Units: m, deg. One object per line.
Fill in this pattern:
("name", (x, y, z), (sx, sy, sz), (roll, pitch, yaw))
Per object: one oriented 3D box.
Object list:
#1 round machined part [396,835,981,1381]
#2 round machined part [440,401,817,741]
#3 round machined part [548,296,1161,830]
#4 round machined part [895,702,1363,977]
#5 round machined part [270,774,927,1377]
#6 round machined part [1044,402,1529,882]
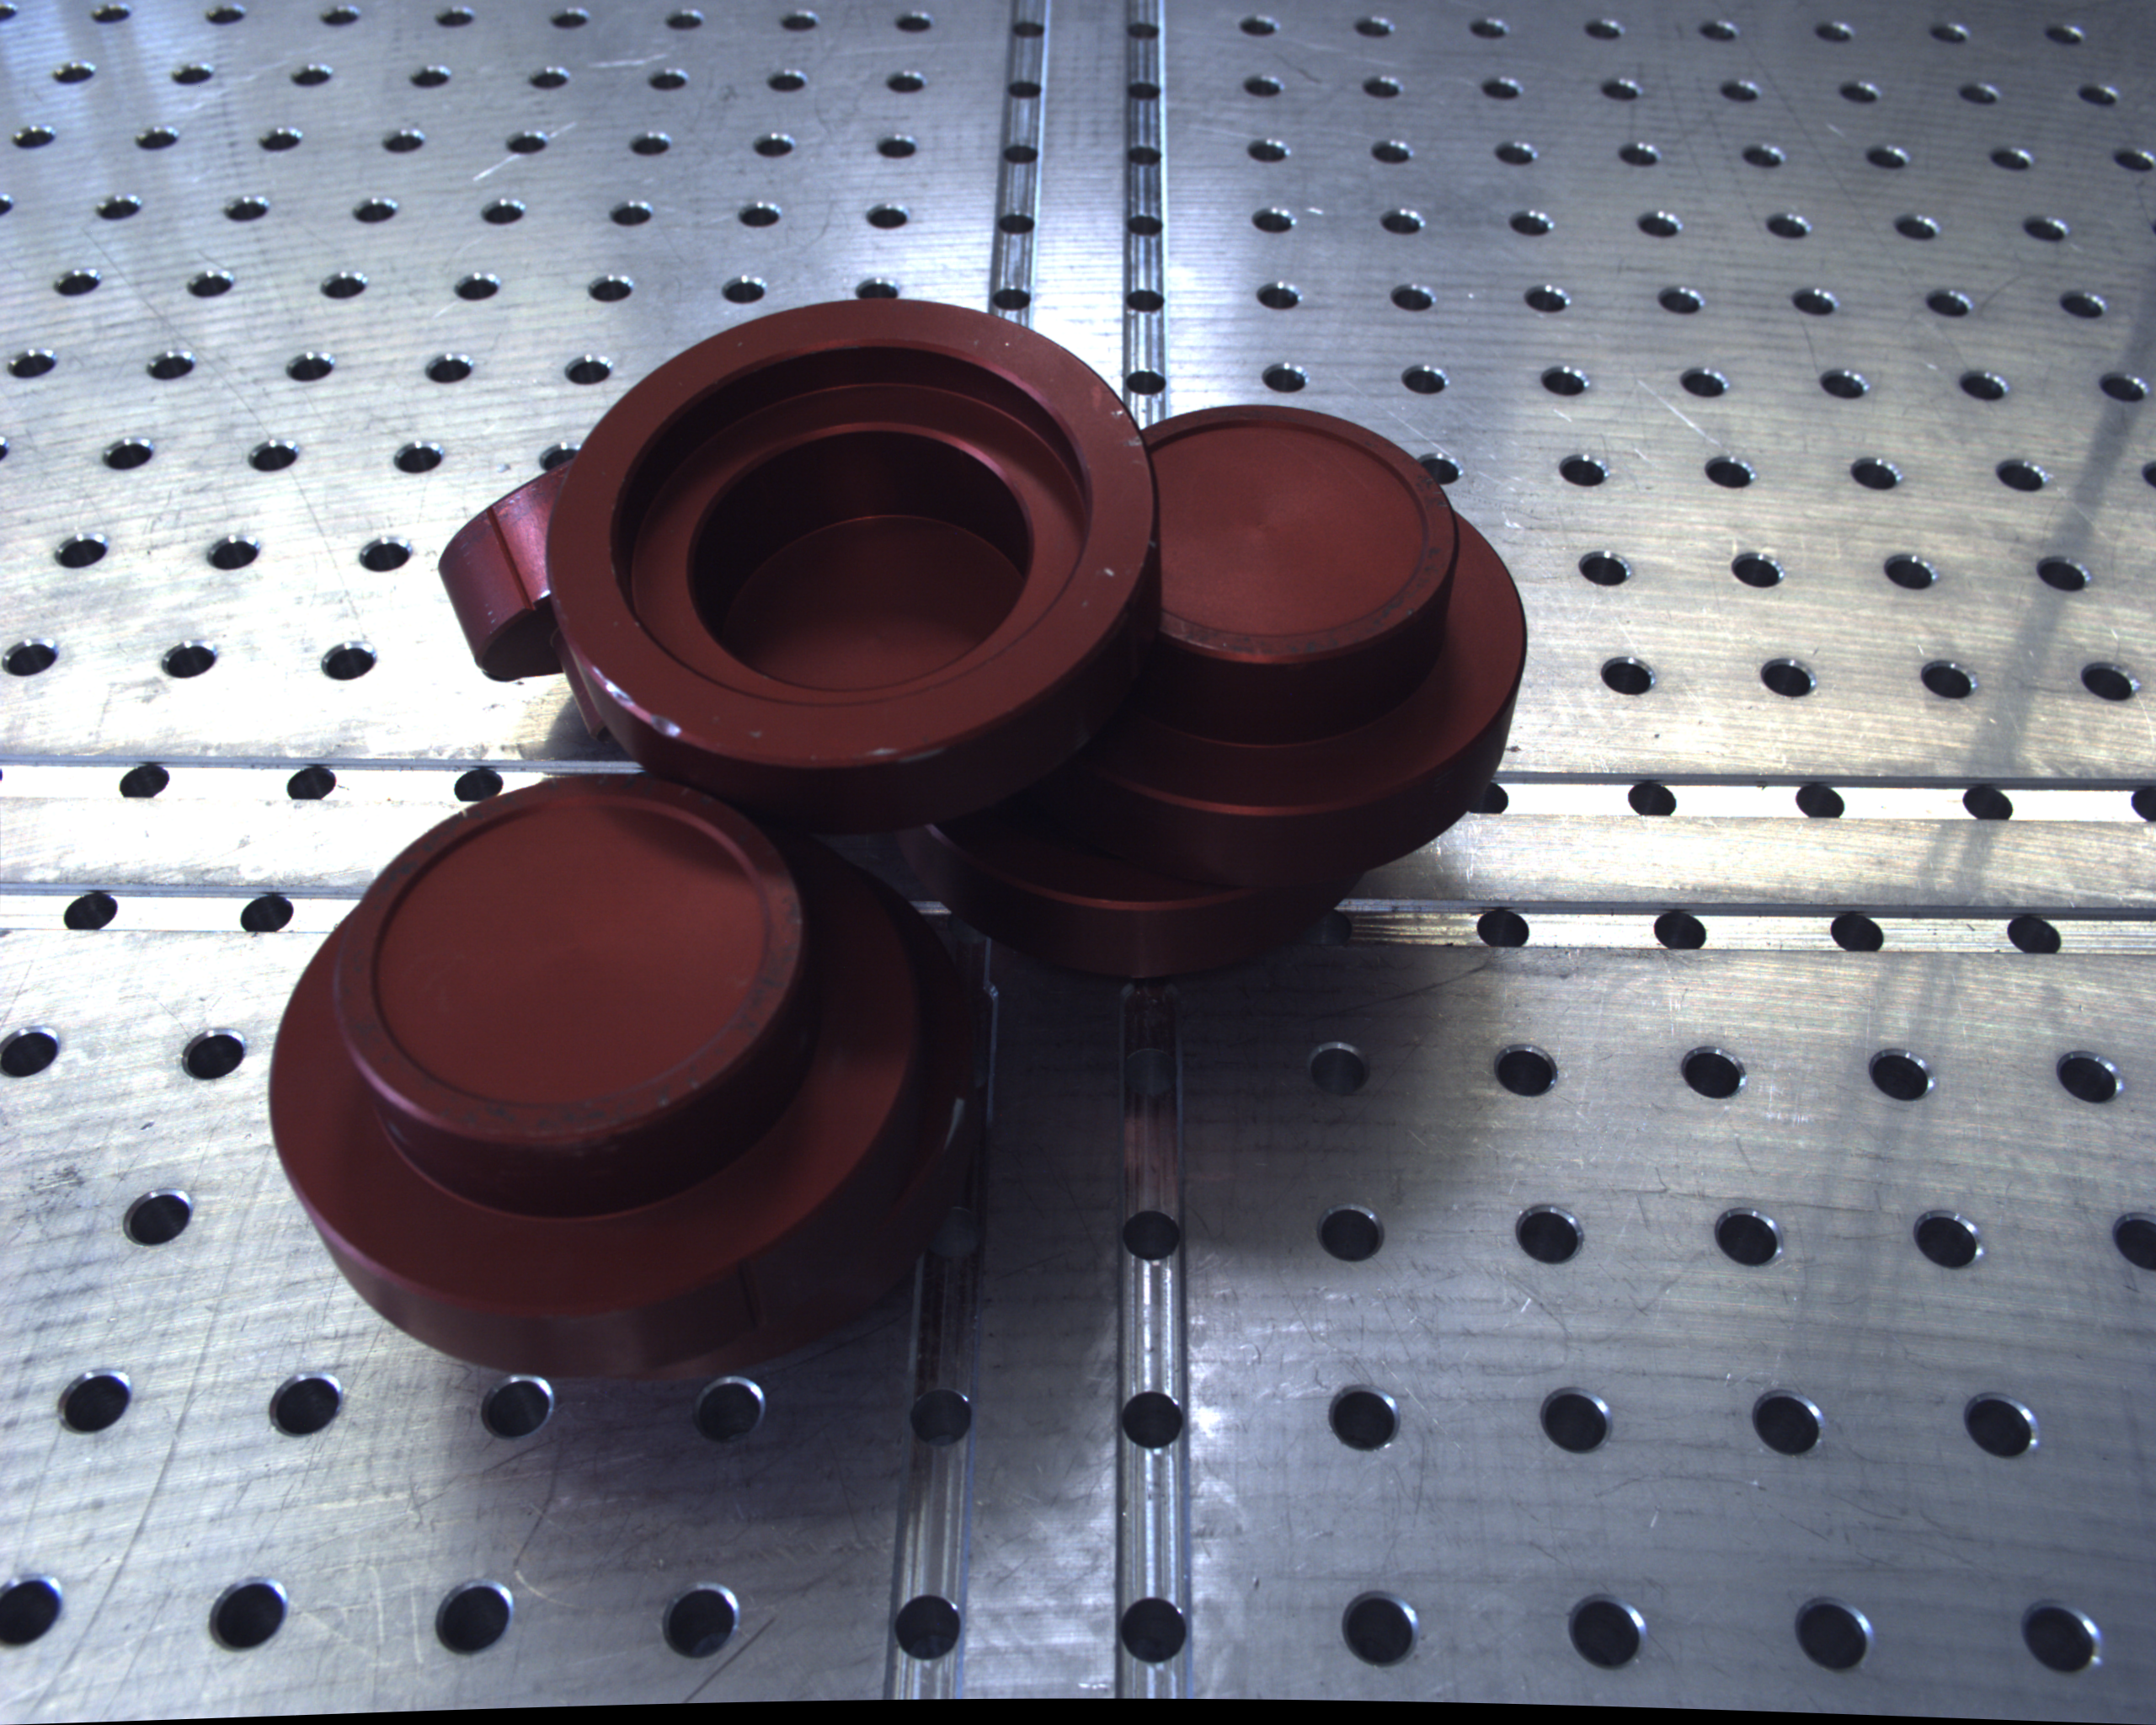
("round machined part", (-0.066, 0.031, 0.343), (0.099, 0.042, 0.098), (0, 50, 0))
("round machined part", (-0.072, -0.056, 0.419), (0.099, 0.098, 0.042), (-22, 89, -17))
("round machined part", (-0.035, -0.046, 0.352), (0.098, 0.042, 0.098), (-1, 58, 2))
("round machined part", (0.011, -0.029, 0.394), (0.099, 0.042, 0.098), (0, 50, 0))
("round machined part", (-0.073, 0.025, 0.320), (0.099, 0.042, 0.098), (0, 50, 0))
("round machined part", (0.033, -0.047, 0.380), (0.099, 0.042, 0.098), (0, 49, 0))
